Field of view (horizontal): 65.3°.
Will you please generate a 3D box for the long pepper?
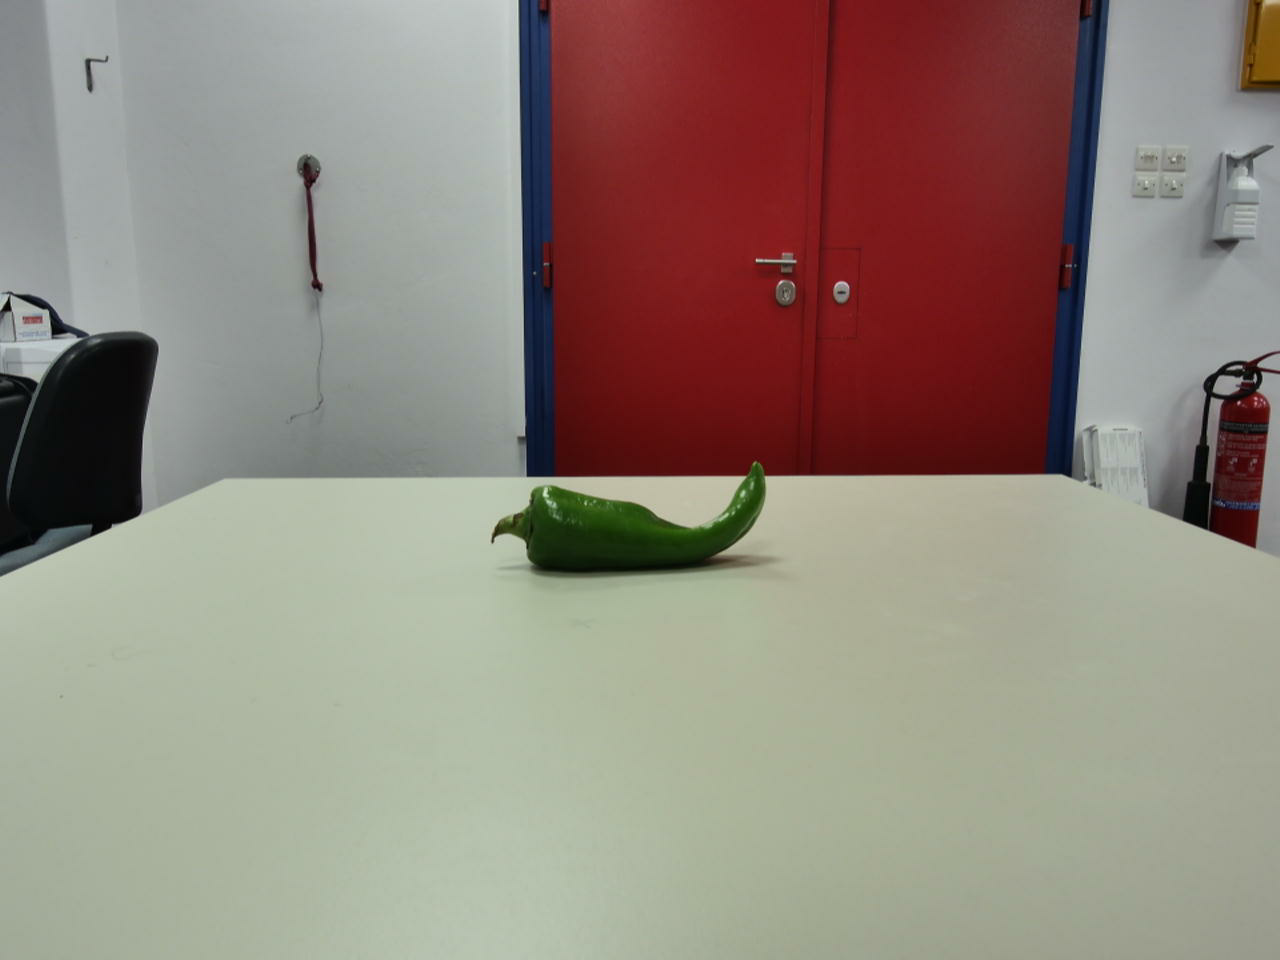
[{"bbox_3d":[-0.006,0.023,0.629,0.175,0.065,0.058,-1,8,-2],"label":"long pepper"}]
